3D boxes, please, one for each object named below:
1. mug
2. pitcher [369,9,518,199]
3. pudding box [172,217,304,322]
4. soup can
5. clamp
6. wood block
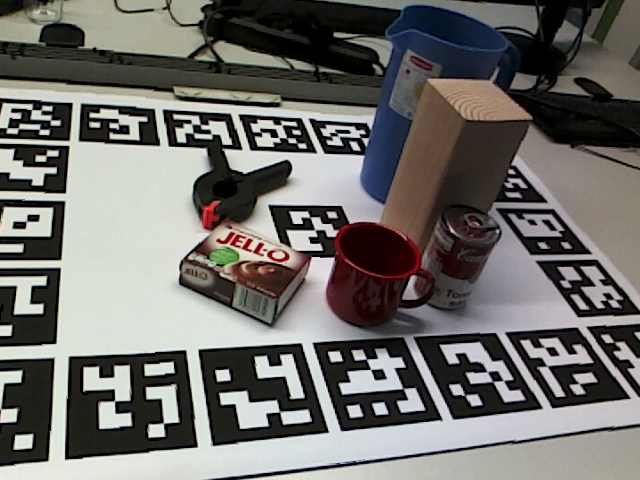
[{"bbox_3d":[0.064,0.041,0.657,0.117,0.081,0.093,21,36,11],"label":"mug"},{"bbox_3d":[0.150,-0.169,0.820,0.188,0.242,0.134,-3,39,-17],"label":"pitcher"},{"bbox_3d":[-0.087,0.030,0.663,0.114,0.038,0.090,23,41,12],"label":"pudding box"},{"bbox_3d":[0.149,0.019,0.694,0.068,0.102,0.068,9,40,-8],"label":"soup can"},{"bbox_3d":[-0.108,-0.070,0.791,0.122,0.036,0.165,23,38,0],"label":"clamp"},{"bbox_3d":[0.154,-0.079,0.733,0.089,0.206,0.091,0,39,-23],"label":"wood block"}]
